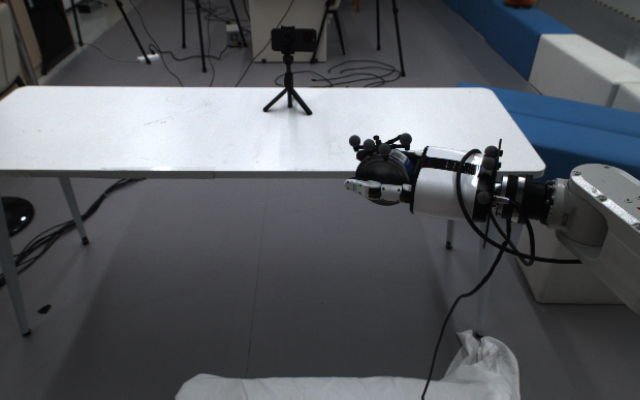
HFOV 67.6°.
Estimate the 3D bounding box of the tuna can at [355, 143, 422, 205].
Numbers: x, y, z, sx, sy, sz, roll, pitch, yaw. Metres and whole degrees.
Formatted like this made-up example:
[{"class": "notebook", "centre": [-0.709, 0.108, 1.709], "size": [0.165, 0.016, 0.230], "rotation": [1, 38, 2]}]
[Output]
[{"class": "tuna can", "centre": [0.101, -0.037, 0.733], "size": [0.085, 0.085, 0.034], "rotation": [17, 37, 20]}]
